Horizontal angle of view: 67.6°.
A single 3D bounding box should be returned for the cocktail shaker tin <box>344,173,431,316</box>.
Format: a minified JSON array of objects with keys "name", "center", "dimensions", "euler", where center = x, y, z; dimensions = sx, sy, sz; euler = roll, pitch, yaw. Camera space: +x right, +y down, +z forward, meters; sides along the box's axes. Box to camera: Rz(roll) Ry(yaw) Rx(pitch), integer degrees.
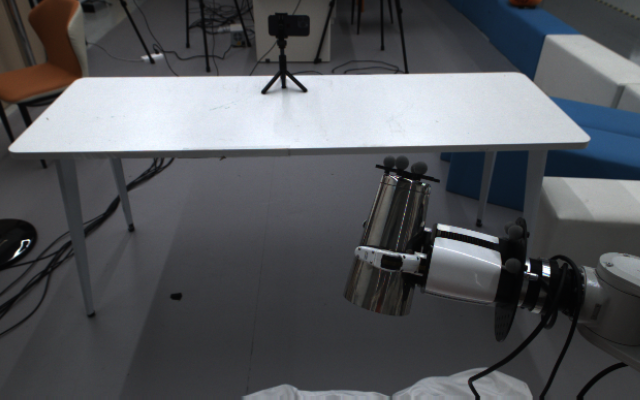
[{"name":"cocktail shaker tin","center":[0.096,0.056,0.645],"dimensions":[0.093,0.170,0.093],"euler":[13,4,-1]}]
